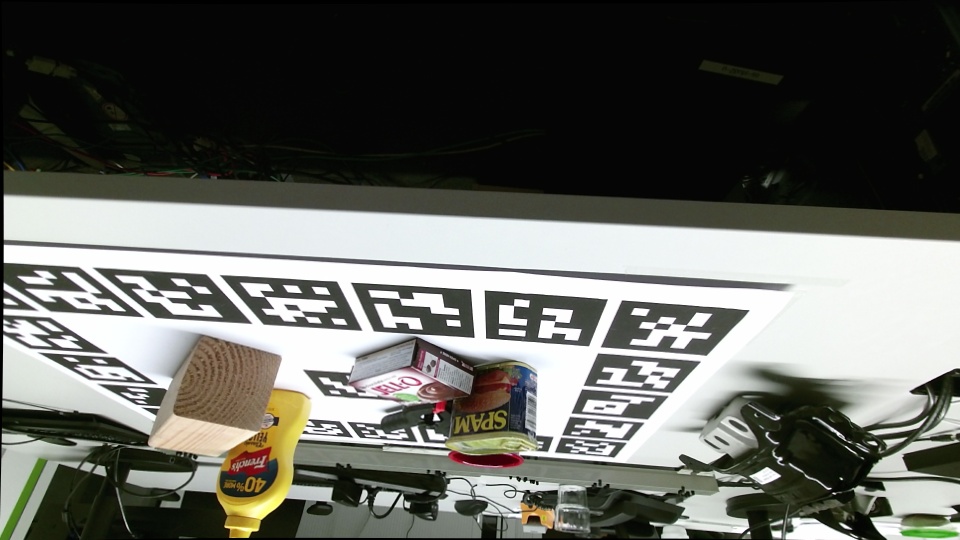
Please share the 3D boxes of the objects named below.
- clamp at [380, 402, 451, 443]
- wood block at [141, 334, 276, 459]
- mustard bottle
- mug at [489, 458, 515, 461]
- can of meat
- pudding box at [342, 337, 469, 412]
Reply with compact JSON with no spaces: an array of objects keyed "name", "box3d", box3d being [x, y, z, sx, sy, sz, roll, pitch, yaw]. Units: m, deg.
[{"name":"clamp","box3d":[-0.074,0.211,0.736,0.122,0.036,0.165,15,143,-11]},{"name":"wood block","box3d":[-0.334,0.162,0.653,0.090,0.090,0.206,24,144,-28]},{"name":"mustard bottle","box3d":[-0.294,0.268,0.705,0.096,0.190,0.058,0,144,7]},{"name":"mug","box3d":[0.007,0.196,0.696,0.094,0.081,0.117,16,143,-15]},{"name":"can of meat","box3d":[0.014,0.159,0.590,0.102,0.083,0.058,-16,139,28]},{"name":"pudding box","box3d":[-0.082,0.119,0.594,0.114,0.038,0.090,-22,136,37]}]
